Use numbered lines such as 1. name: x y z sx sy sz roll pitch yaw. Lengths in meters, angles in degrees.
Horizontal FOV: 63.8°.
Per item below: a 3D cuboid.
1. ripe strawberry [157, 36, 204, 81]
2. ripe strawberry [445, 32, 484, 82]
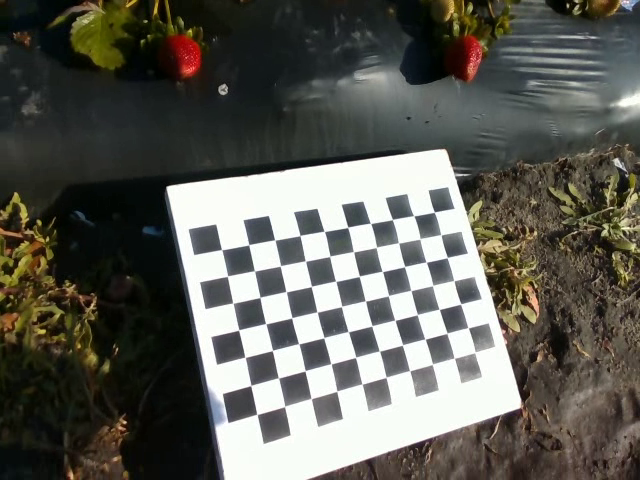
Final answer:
1. ripe strawberry: -0.122 -0.162 0.463 0.045 0.042 0.055 -1 45 -21
2. ripe strawberry: 0.139 -0.176 0.508 0.042 0.059 0.042 13 -29 -17
